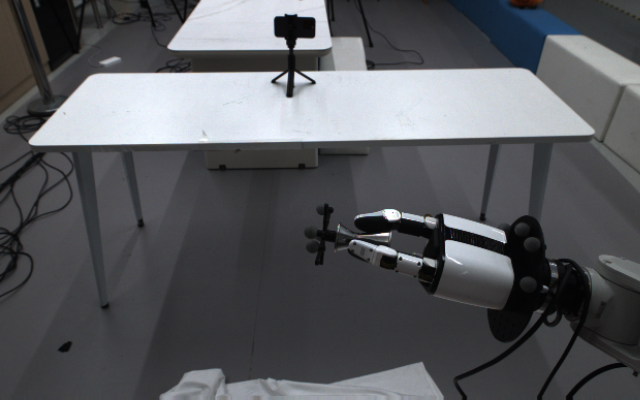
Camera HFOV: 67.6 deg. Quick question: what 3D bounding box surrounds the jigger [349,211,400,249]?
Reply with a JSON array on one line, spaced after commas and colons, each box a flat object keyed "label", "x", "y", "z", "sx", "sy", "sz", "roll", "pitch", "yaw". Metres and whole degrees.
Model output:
[{"label": "jigger", "x": 0.063, "y": 0.047, "z": 0.619, "sx": 0.071, "sy": 0.043, "sz": 0.043, "roll": 8, "pitch": 35, "yaw": 8}]
